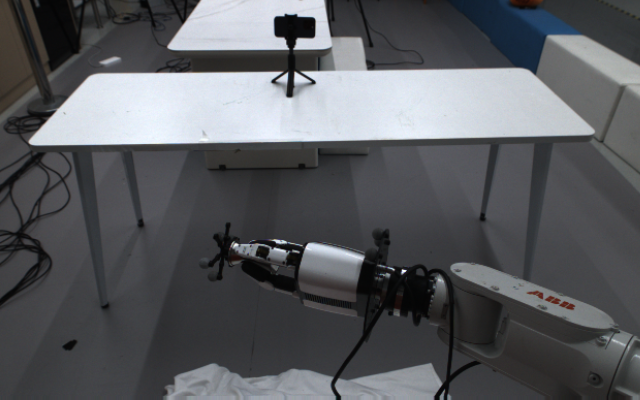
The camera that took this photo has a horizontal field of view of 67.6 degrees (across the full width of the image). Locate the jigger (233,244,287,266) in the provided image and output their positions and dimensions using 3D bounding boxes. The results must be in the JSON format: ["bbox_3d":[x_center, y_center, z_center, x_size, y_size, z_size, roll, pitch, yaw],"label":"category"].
[{"bbox_3d":[-0.091,0.079,0.718,0.071,0.043,0.043,7,35,15],"label":"jigger"}]
